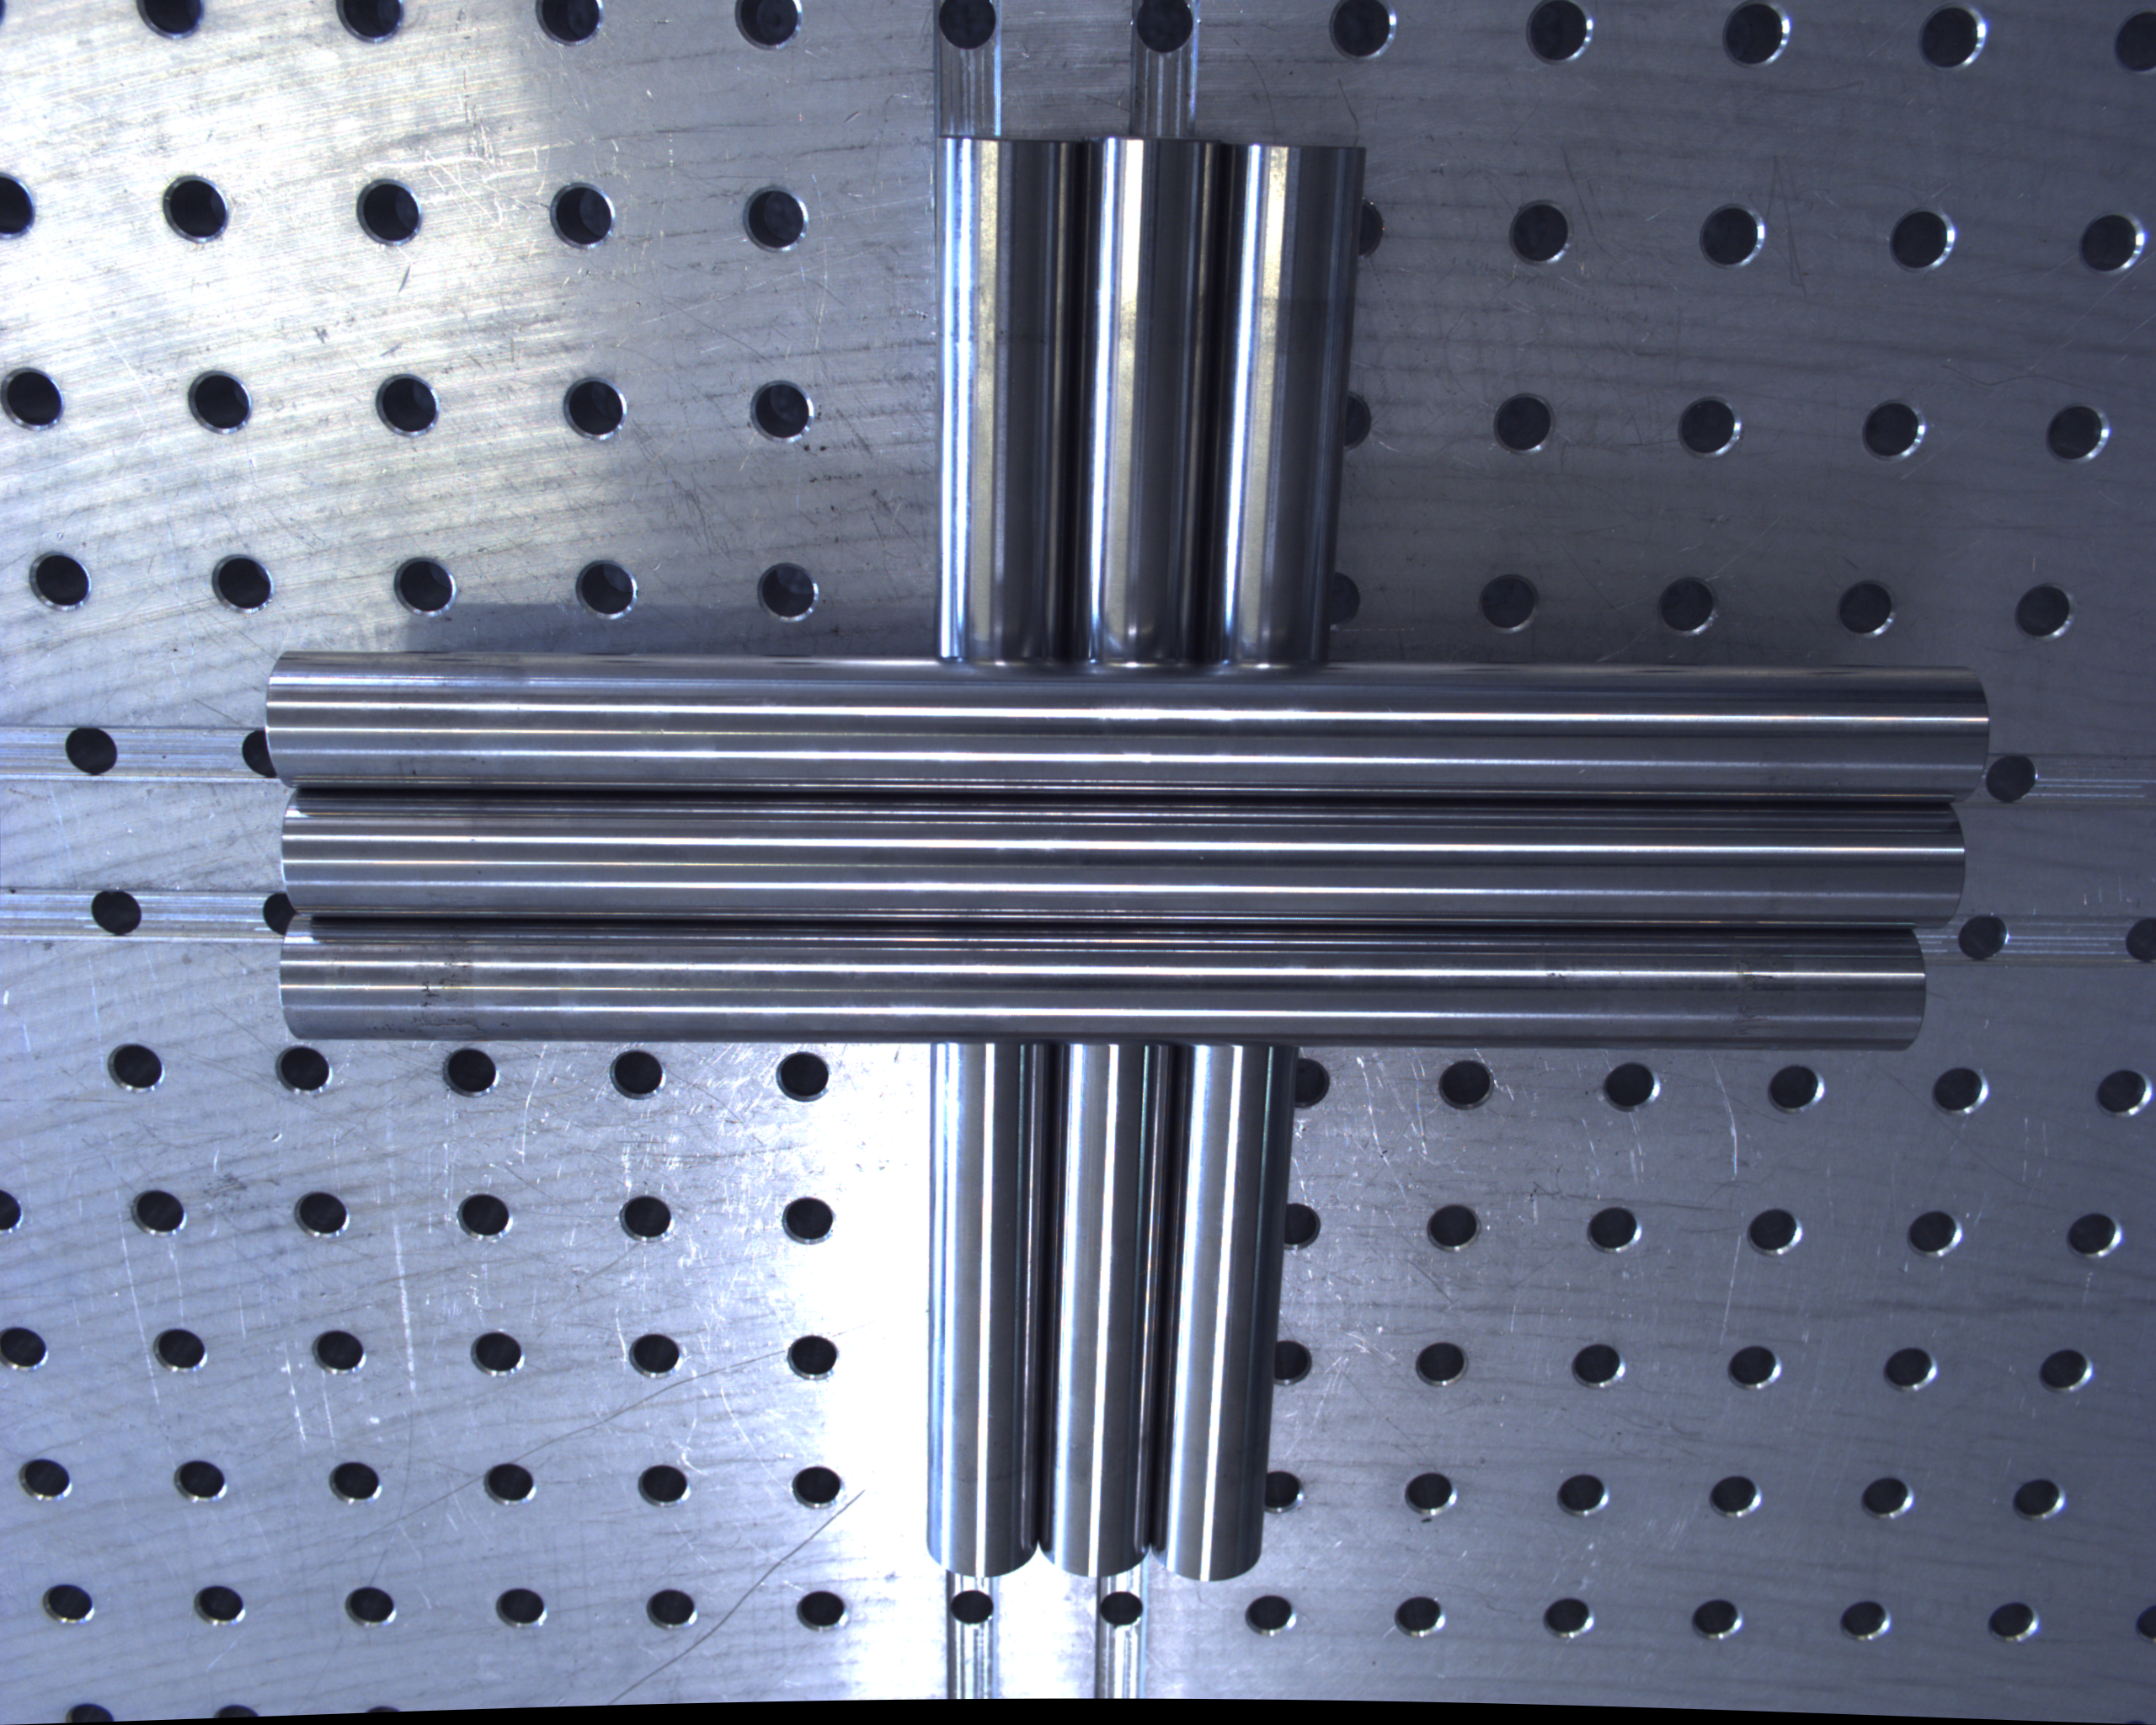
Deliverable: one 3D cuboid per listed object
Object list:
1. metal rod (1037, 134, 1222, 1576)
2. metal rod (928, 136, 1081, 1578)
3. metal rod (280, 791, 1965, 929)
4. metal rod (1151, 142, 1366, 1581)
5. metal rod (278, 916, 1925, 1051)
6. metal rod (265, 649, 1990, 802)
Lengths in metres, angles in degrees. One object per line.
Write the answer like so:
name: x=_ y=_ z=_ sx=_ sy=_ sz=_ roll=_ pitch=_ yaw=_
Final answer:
metal rod: x=0.008 y=0.012 z=0.418 sx=0.025 sy=0.025 sz=0.298 roll=2 pitch=110 yaw=-1
metal rod: x=-0.017 y=0.013 z=0.418 sx=0.025 sy=0.025 sz=0.298 roll=2 pitch=110 yaw=-1
metal rod: x=0.009 y=-0.001 z=0.386 sx=0.302 sy=0.025 sz=0.025 roll=0 pitch=110 yaw=-1
metal rod: x=0.033 y=0.014 z=0.419 sx=0.025 sy=0.025 sz=0.298 roll=2 pitch=110 yaw=-1
metal rod: x=0.005 y=0.022 z=0.395 sx=0.302 sy=0.025 sz=0.025 roll=0 pitch=110 yaw=-1
metal rod: x=0.009 y=-0.025 z=0.377 sx=0.302 sy=0.025 sz=0.025 roll=0 pitch=110 yaw=-1
